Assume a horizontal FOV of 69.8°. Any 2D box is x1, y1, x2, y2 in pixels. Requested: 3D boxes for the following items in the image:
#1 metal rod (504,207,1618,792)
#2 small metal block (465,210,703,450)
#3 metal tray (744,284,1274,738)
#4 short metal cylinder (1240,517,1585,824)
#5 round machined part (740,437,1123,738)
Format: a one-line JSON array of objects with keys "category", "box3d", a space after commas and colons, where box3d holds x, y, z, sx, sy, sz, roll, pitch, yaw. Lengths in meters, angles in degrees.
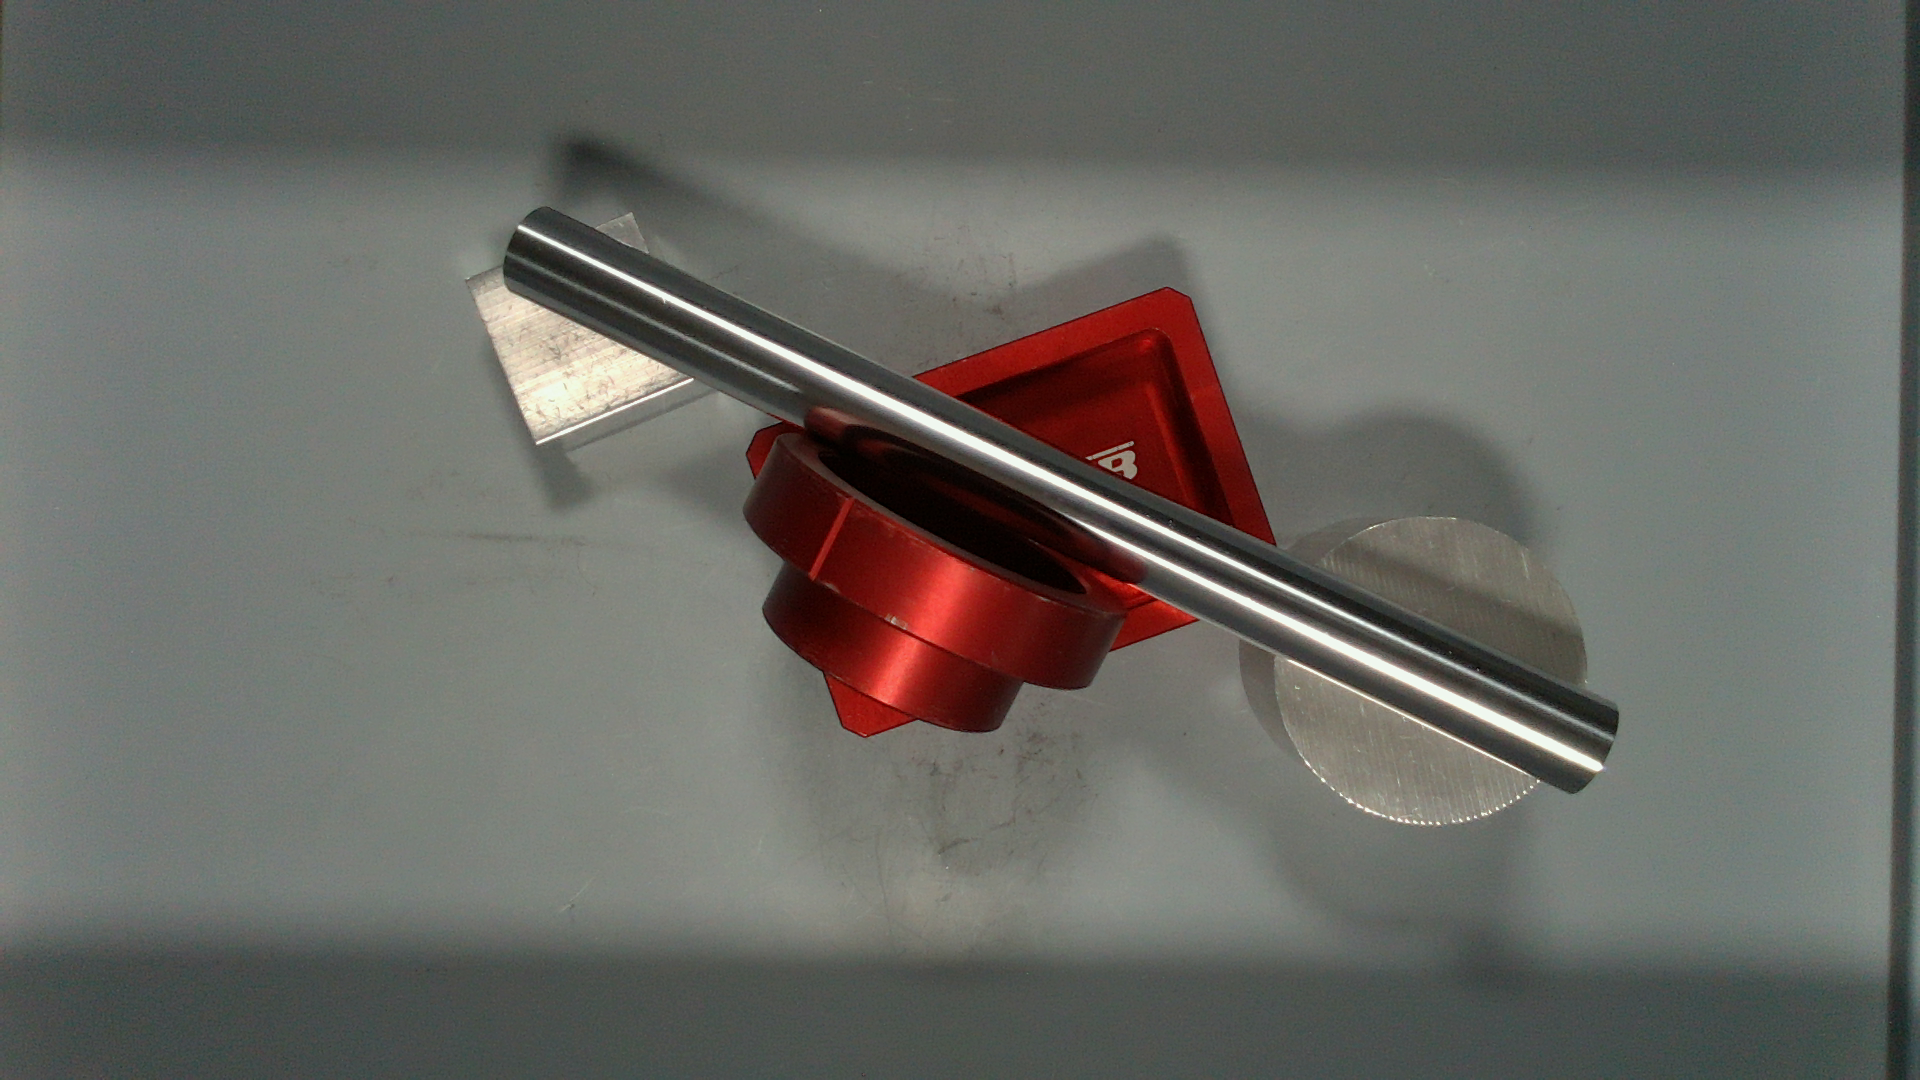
[{"category": "metal rod", "box3d": [0.020, -0.014, 0.353, 0.300, 0.025, 0.025, 25, 90, 6]}, {"category": "small metal block", "box3d": [-0.104, -0.059, 0.393, 0.050, 0.025, 0.050, -22, 90, 0]}, {"category": "metal tray", "box3d": [0.015, -0.008, 0.391, 0.130, 0.030, 0.090, -19, 90, 0]}, {"category": "short metal cylinder", "box3d": [0.123, 0.034, 0.382, 0.080, 0.050, 0.080, 0, 90, 0]}, {"category": "round machined part", "box3d": [-0.011, 0.014, 0.345, 0.098, 0.098, 0.042, 28, 98, 0]}]
